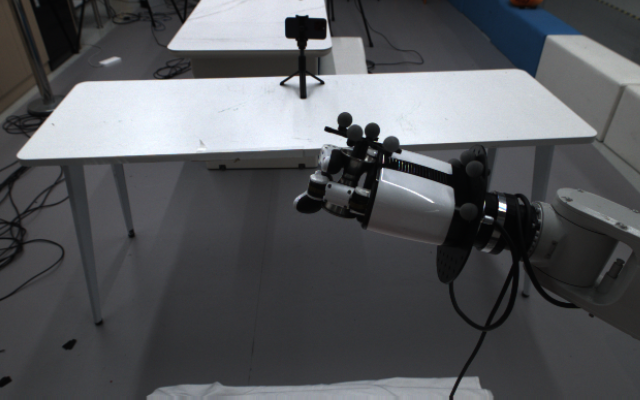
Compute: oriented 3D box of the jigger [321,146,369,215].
[{"bbox_3d":[0.030,-0.020,0.545,0.043,0.071,0.043,18,17,-6],"label":"jigger"}]
